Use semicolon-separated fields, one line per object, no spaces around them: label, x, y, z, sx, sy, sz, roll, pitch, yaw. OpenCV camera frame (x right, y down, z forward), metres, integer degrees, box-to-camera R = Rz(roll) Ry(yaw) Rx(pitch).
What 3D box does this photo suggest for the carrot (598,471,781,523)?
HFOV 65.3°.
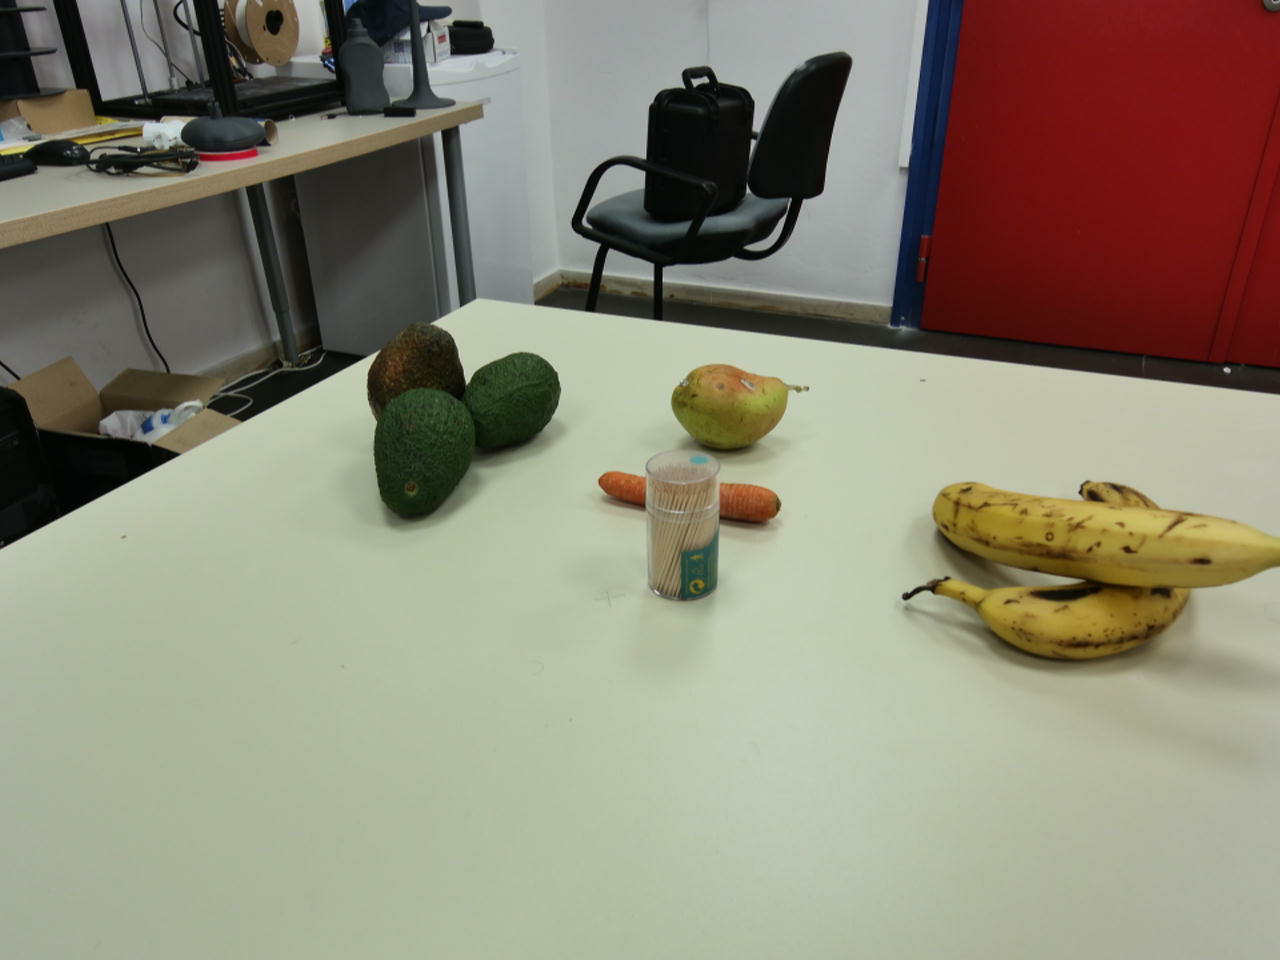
carrot;0.029;0.009;0.638;0.122;0.023;0.024;9;27;19
